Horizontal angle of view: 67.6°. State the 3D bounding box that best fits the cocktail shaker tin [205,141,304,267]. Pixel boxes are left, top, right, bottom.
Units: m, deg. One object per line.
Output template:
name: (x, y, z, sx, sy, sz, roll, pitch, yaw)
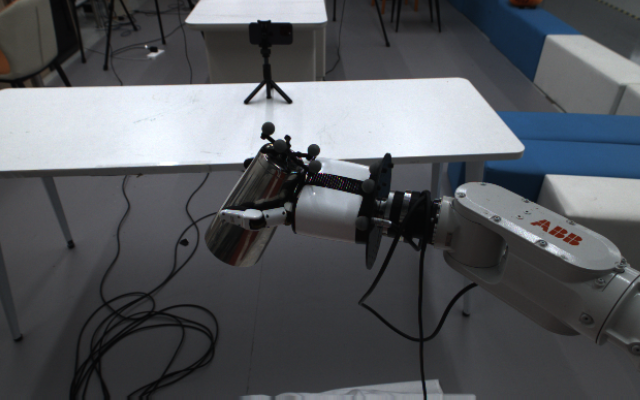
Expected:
cocktail shaker tin: (-0.088, 0.001, 0.688, 0.093, 0.170, 0.093, 26, 32, -17)
